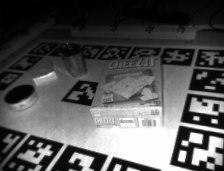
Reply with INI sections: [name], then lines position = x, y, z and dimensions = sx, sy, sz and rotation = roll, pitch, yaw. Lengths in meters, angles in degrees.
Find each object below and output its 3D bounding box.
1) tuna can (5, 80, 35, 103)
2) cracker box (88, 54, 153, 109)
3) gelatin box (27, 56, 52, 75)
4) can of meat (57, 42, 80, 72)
[tuna can]
position = -0.289, 0.018, 0.681
dimensions = 0.085, 0.034, 0.085
rotation = -8, 40, 8
[cracker box]
position = 0.033, -0.007, 0.614
dimensions = 0.163, 0.072, 0.213
rotation = -3, 36, 9
[gelatin box]
position = -0.265, -0.069, 0.796
dimensions = 0.074, 0.030, 0.088
rotation = -21, 41, -17
[can of meat]
position = -0.148, -0.101, 0.775
dimensions = 0.058, 0.084, 0.100
rotation = -31, 40, -24
